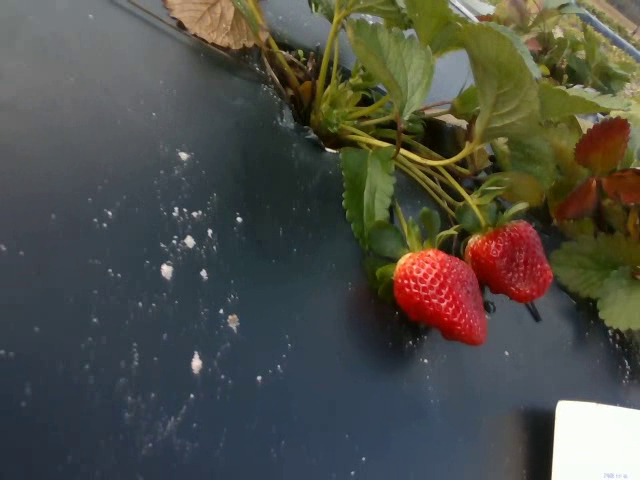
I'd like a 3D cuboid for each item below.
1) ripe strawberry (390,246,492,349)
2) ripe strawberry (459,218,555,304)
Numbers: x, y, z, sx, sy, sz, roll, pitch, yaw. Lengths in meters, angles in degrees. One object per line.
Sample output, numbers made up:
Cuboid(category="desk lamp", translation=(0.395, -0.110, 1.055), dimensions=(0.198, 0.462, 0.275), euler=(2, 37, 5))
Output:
Cuboid(category="ripe strawberry", translation=(0.063, 0.028, 0.267), dimensions=(0.050, 0.045, 0.061), euler=(3, 43, -29))
Cuboid(category="ripe strawberry", translation=(0.111, 0.010, 0.309), dimensions=(0.042, 0.053, 0.034), euler=(-3, -40, -30))
